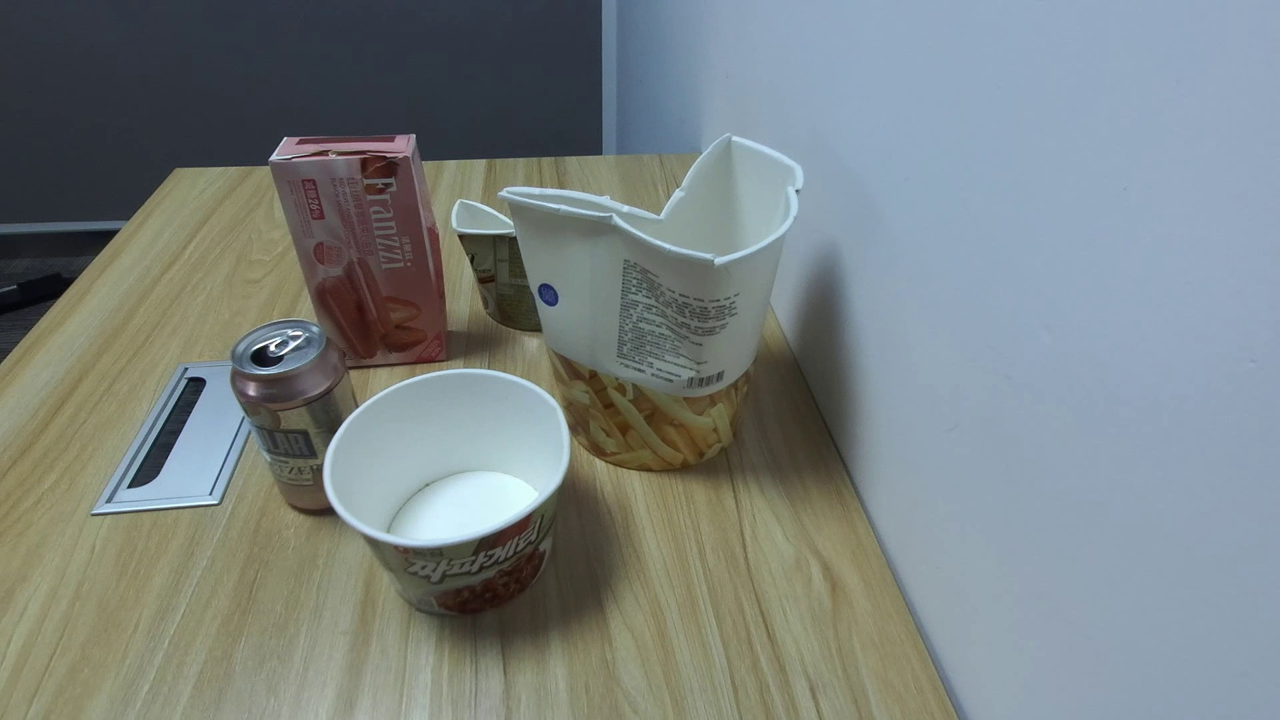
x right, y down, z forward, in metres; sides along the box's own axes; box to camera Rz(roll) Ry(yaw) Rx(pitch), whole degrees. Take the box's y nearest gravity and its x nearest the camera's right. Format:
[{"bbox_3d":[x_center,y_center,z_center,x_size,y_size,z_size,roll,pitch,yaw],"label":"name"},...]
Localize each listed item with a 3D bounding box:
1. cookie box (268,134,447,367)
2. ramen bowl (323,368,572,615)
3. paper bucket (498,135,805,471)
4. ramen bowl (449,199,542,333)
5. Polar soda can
[{"bbox_3d":[-0.210,-0.083,0.561,0.105,0.188,0.048,-5,40,-9],"label":"cookie box"},{"bbox_3d":[-0.111,0.088,0.443,0.140,0.095,0.140,1,38,-1],"label":"ramen bowl"},{"bbox_3d":[0.020,-0.044,0.515,0.168,0.202,0.163,24,44,22],"label":"paper bucket"},{"bbox_3d":[-0.103,-0.088,0.697,0.128,0.093,0.112,1,15,26],"label":"ramen bowl"},{"bbox_3d":[-0.219,0.039,0.463,0.067,0.126,0.067,1,36,0],"label":"Polar soda can"}]
